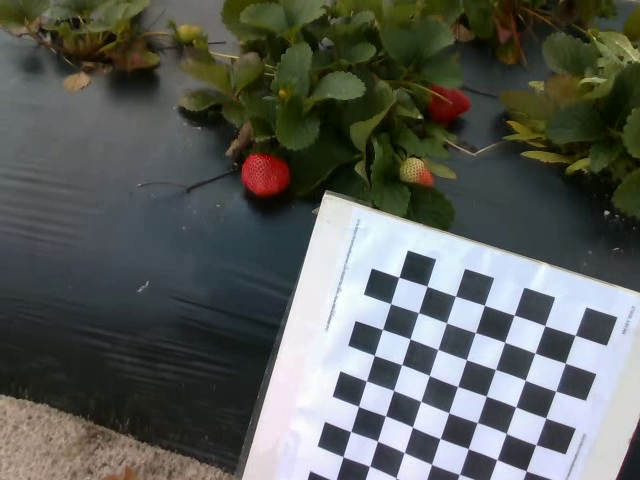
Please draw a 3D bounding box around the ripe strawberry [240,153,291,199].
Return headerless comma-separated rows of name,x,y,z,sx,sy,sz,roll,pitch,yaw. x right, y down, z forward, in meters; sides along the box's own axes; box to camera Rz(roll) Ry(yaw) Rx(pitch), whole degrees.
ripe strawberry,-0.043,-0.045,0.408,0.037,0.046,0.037,-28,-52,18
